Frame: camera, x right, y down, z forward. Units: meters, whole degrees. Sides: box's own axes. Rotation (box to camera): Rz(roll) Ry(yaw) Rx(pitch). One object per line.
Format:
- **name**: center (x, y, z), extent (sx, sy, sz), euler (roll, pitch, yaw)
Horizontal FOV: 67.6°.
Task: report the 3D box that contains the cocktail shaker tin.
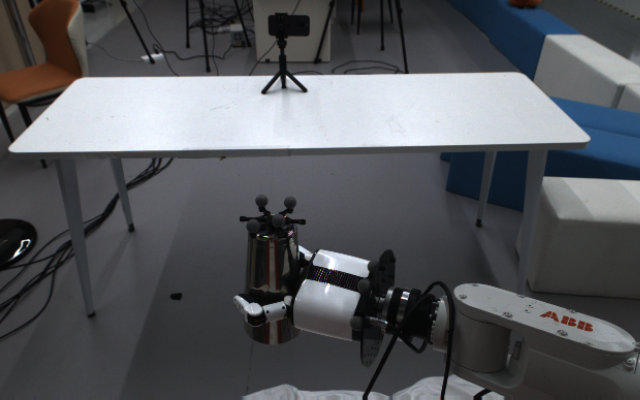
- **cocktail shaker tin**: center (-0.064, 0.110, 0.691), extent (0.093, 0.170, 0.093), euler (2, 28, -1)
